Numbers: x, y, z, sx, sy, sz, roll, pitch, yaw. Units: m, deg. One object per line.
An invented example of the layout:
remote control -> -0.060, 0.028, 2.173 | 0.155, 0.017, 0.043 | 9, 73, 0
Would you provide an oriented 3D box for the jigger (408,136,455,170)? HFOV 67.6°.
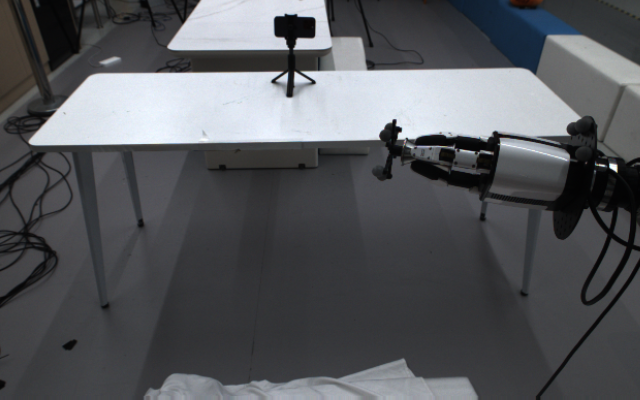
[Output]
jigger -> 0.155, -0.066, 0.668 | 0.071, 0.043, 0.043 | 10, 35, 16
